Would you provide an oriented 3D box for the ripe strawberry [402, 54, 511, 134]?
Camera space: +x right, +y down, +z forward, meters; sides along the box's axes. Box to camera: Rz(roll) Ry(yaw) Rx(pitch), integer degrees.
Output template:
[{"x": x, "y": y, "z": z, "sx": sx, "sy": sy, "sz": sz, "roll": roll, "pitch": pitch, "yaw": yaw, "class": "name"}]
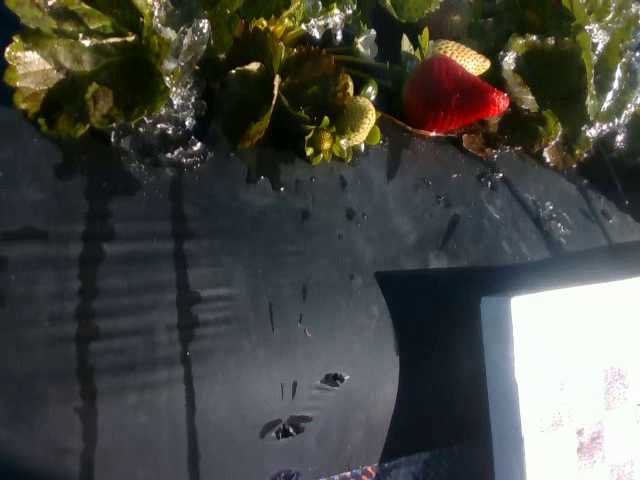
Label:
[{"x": 0.064, "y": -0.065, "z": 0.308, "sx": 0.053, "sy": 0.042, "sz": 0.040, "roll": 21, "pitch": 53, "yaw": 35, "class": "ripe strawberry"}]
